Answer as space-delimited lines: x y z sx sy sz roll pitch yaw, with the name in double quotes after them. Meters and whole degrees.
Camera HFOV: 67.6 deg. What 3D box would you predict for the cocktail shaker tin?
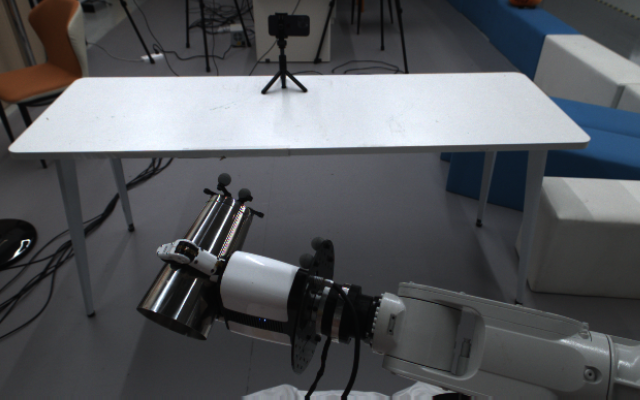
-0.149 0.082 0.618 0.093 0.093 0.170 14 61 16 "cocktail shaker tin"
